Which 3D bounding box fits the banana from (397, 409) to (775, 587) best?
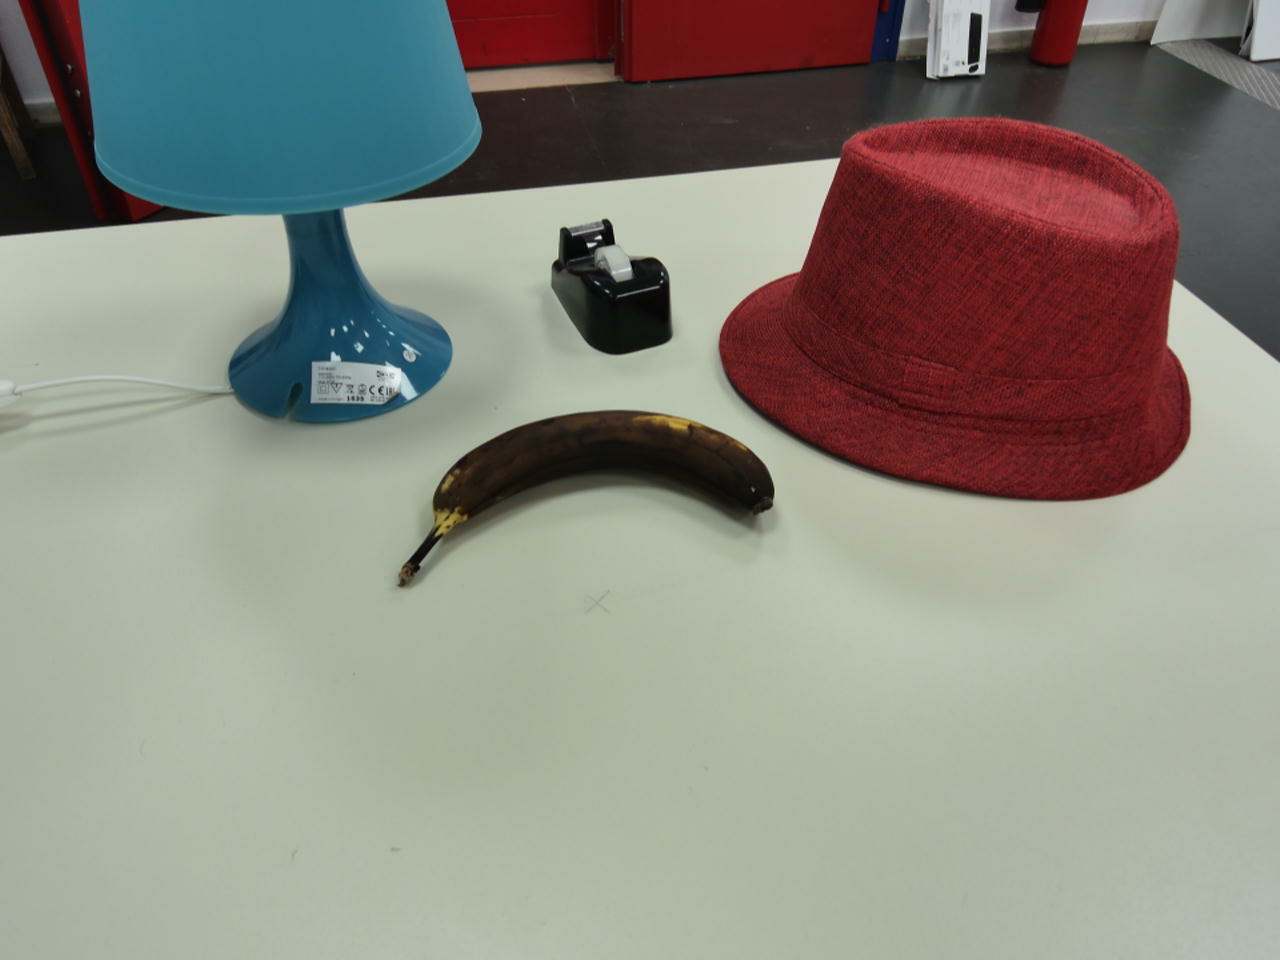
[{"bbox_3d":[-0.030,-0.003,0.511,0.188,0.034,0.091,-8,40,-9],"label":"banana"}]
